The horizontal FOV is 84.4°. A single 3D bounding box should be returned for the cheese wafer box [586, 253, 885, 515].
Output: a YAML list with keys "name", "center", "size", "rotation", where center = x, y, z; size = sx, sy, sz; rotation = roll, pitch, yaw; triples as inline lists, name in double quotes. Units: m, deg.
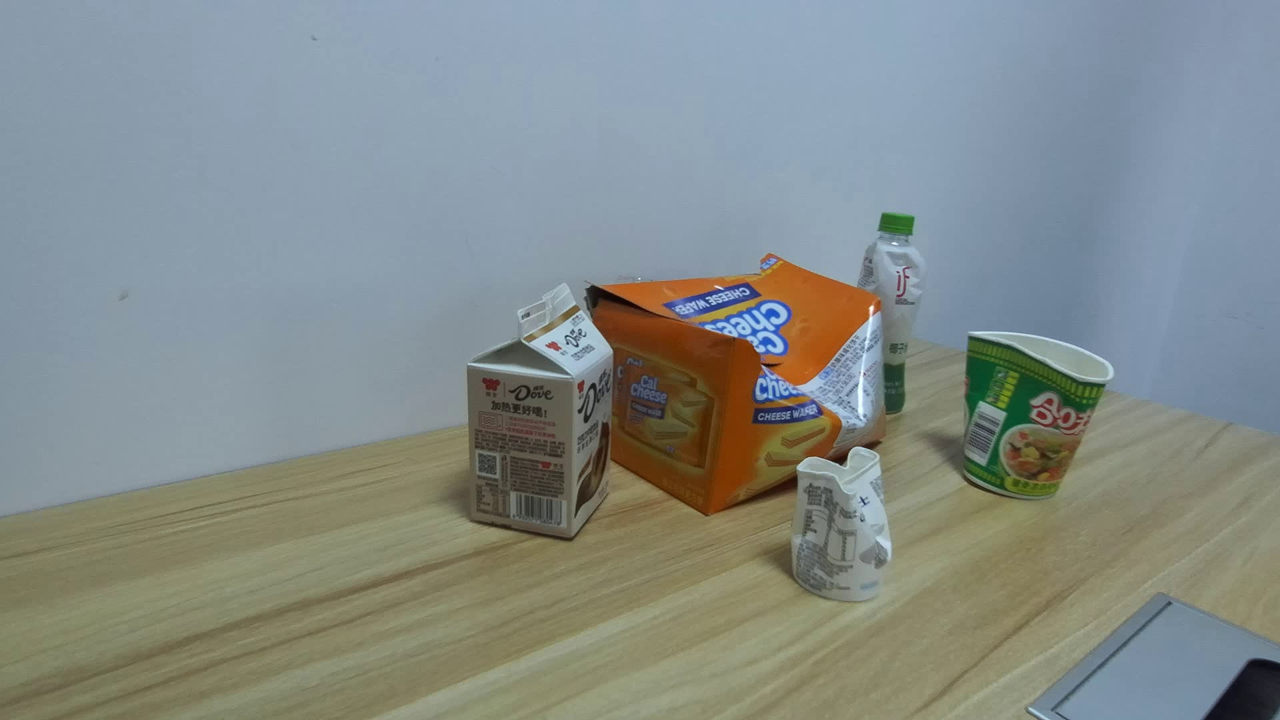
- name: "cheese wafer box"
  center: [0.094, 0.006, 0.566]
  size: [0.220, 0.145, 0.190]
  rotation: [-12, 21, -39]

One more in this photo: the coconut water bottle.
- name: "coconut water bottle"
  center: [0.237, -0.046, 0.682]
  size: [0.067, 0.187, 0.067]
  rotation: [3, 16, -1]

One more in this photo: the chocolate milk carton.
- name: "chocolate milk carton"
  center: [-0.062, 0.029, 0.462]
  size: [0.074, 0.148, 0.075]
  rotation: [7, 17, 15]

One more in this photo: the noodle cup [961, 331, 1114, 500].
- name: "noodle cup"
  center: [0.289, 0.041, 0.534]
  size: [0.070, 0.111, 0.115]
  rotation: [2, 18, 6]

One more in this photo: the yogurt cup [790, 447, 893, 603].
- name: "yogurt cup"
  center: [0.115, 0.093, 0.406]
  size: [0.055, 0.072, 0.055]
  rotation: [-9, 19, -30]
